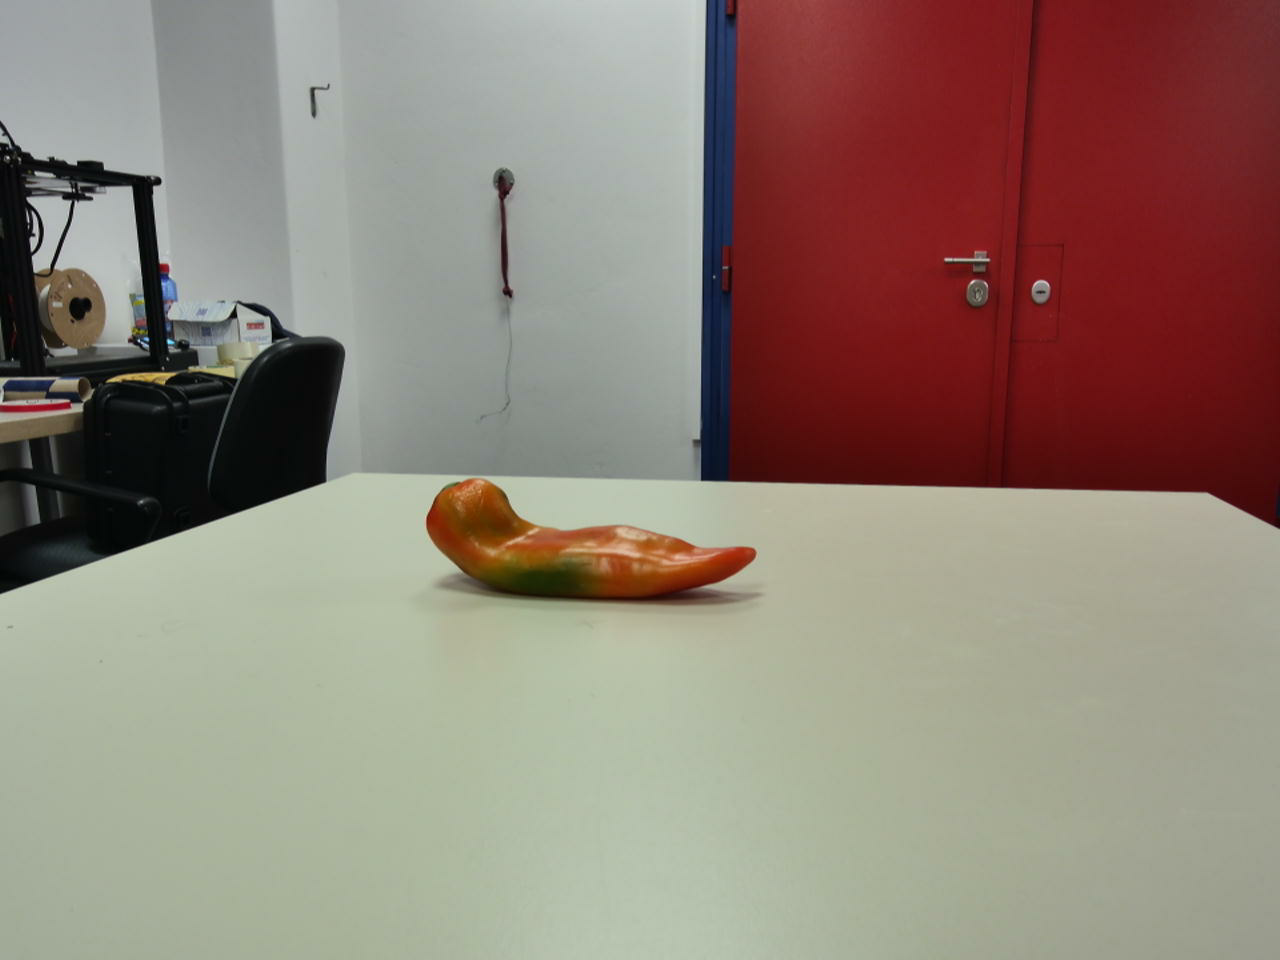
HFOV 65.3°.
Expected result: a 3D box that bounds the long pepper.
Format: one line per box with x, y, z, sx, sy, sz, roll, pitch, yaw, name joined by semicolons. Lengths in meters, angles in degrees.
-0.032;0.034;0.588;0.199;0.065;0.066;2;8;16;long pepper
